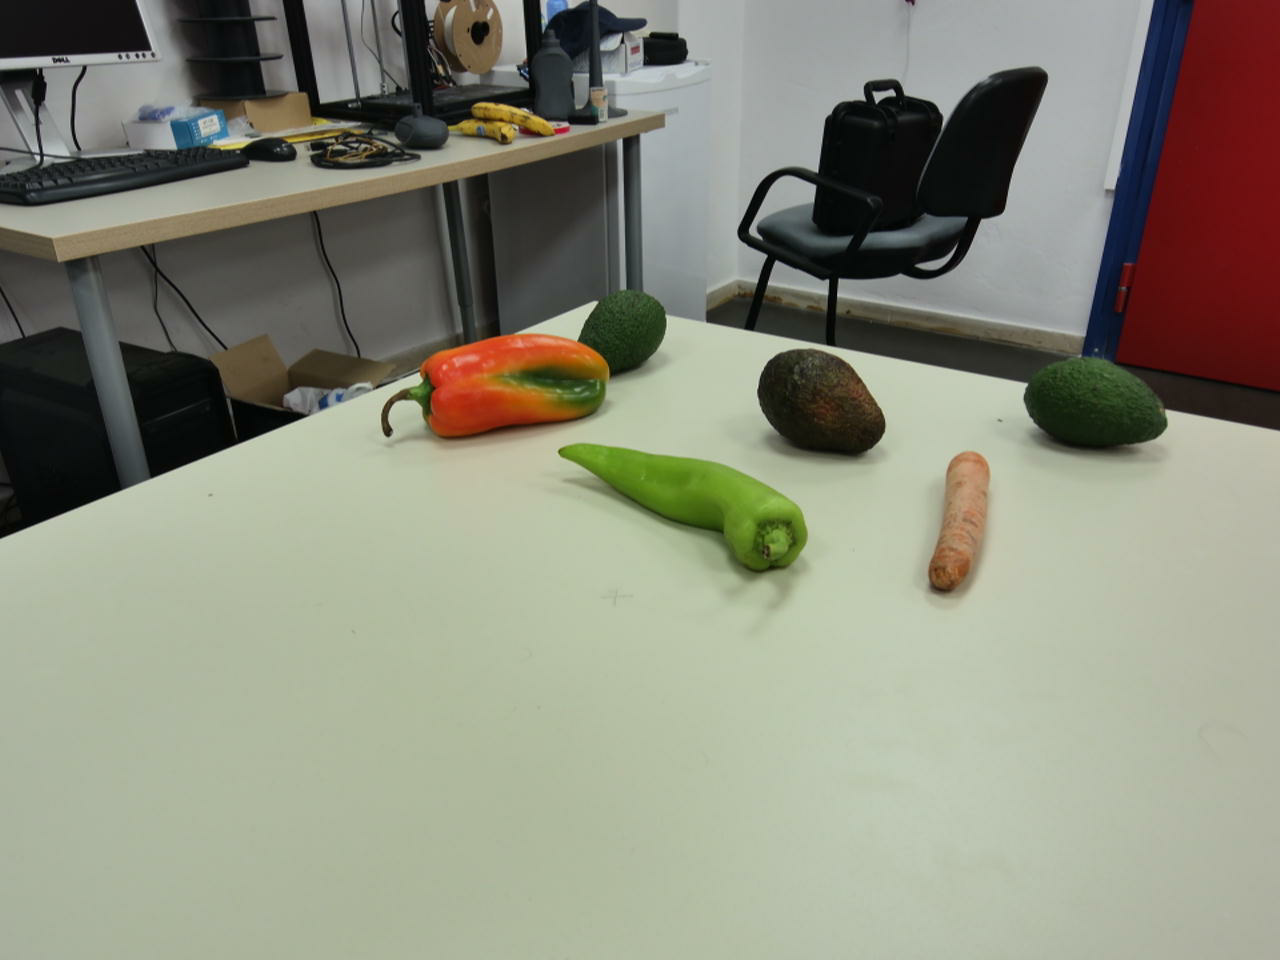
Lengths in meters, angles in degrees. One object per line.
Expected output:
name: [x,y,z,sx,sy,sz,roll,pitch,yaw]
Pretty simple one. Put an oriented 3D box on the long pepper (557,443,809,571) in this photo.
long pepper: [0.032,0.008,0.626,0.065,0.045,0.205,-18,31,-34]
